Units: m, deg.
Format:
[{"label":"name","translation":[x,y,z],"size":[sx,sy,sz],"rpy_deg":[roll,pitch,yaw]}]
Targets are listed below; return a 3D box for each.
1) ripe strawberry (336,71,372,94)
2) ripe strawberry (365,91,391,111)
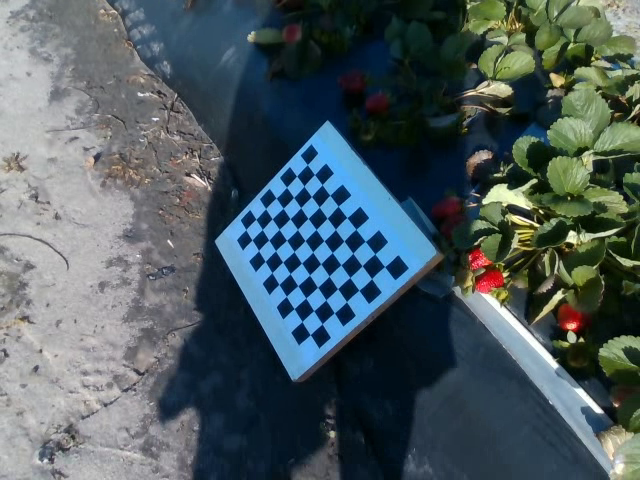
[{"label":"ripe strawberry","translation":[0.051,-0.265,1.092],"size":[0.050,0.050,0.044],"rpy_deg":[2,-32,-33]},{"label":"ripe strawberry","translation":[0.090,-0.217,1.053],"size":[0.042,0.039,0.049],"rpy_deg":[0,13,39]}]
